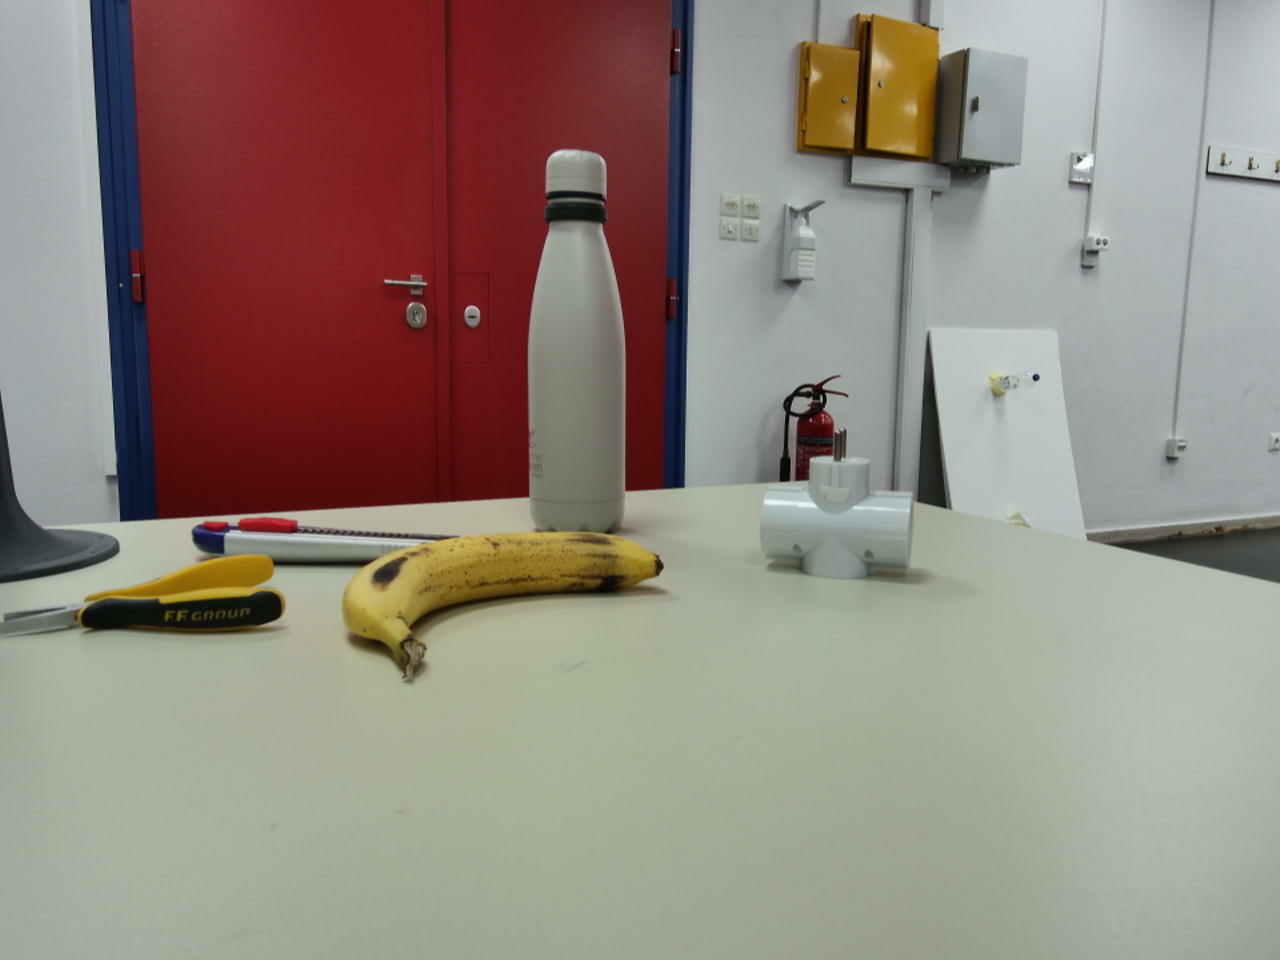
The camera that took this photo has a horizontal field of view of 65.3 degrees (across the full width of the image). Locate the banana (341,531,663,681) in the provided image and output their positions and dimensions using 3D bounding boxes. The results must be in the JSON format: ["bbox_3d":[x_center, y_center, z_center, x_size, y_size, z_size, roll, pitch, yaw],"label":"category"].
[{"bbox_3d":[-0.078,0.052,0.521,0.097,0.038,0.186,5,8,37],"label":"banana"}]
